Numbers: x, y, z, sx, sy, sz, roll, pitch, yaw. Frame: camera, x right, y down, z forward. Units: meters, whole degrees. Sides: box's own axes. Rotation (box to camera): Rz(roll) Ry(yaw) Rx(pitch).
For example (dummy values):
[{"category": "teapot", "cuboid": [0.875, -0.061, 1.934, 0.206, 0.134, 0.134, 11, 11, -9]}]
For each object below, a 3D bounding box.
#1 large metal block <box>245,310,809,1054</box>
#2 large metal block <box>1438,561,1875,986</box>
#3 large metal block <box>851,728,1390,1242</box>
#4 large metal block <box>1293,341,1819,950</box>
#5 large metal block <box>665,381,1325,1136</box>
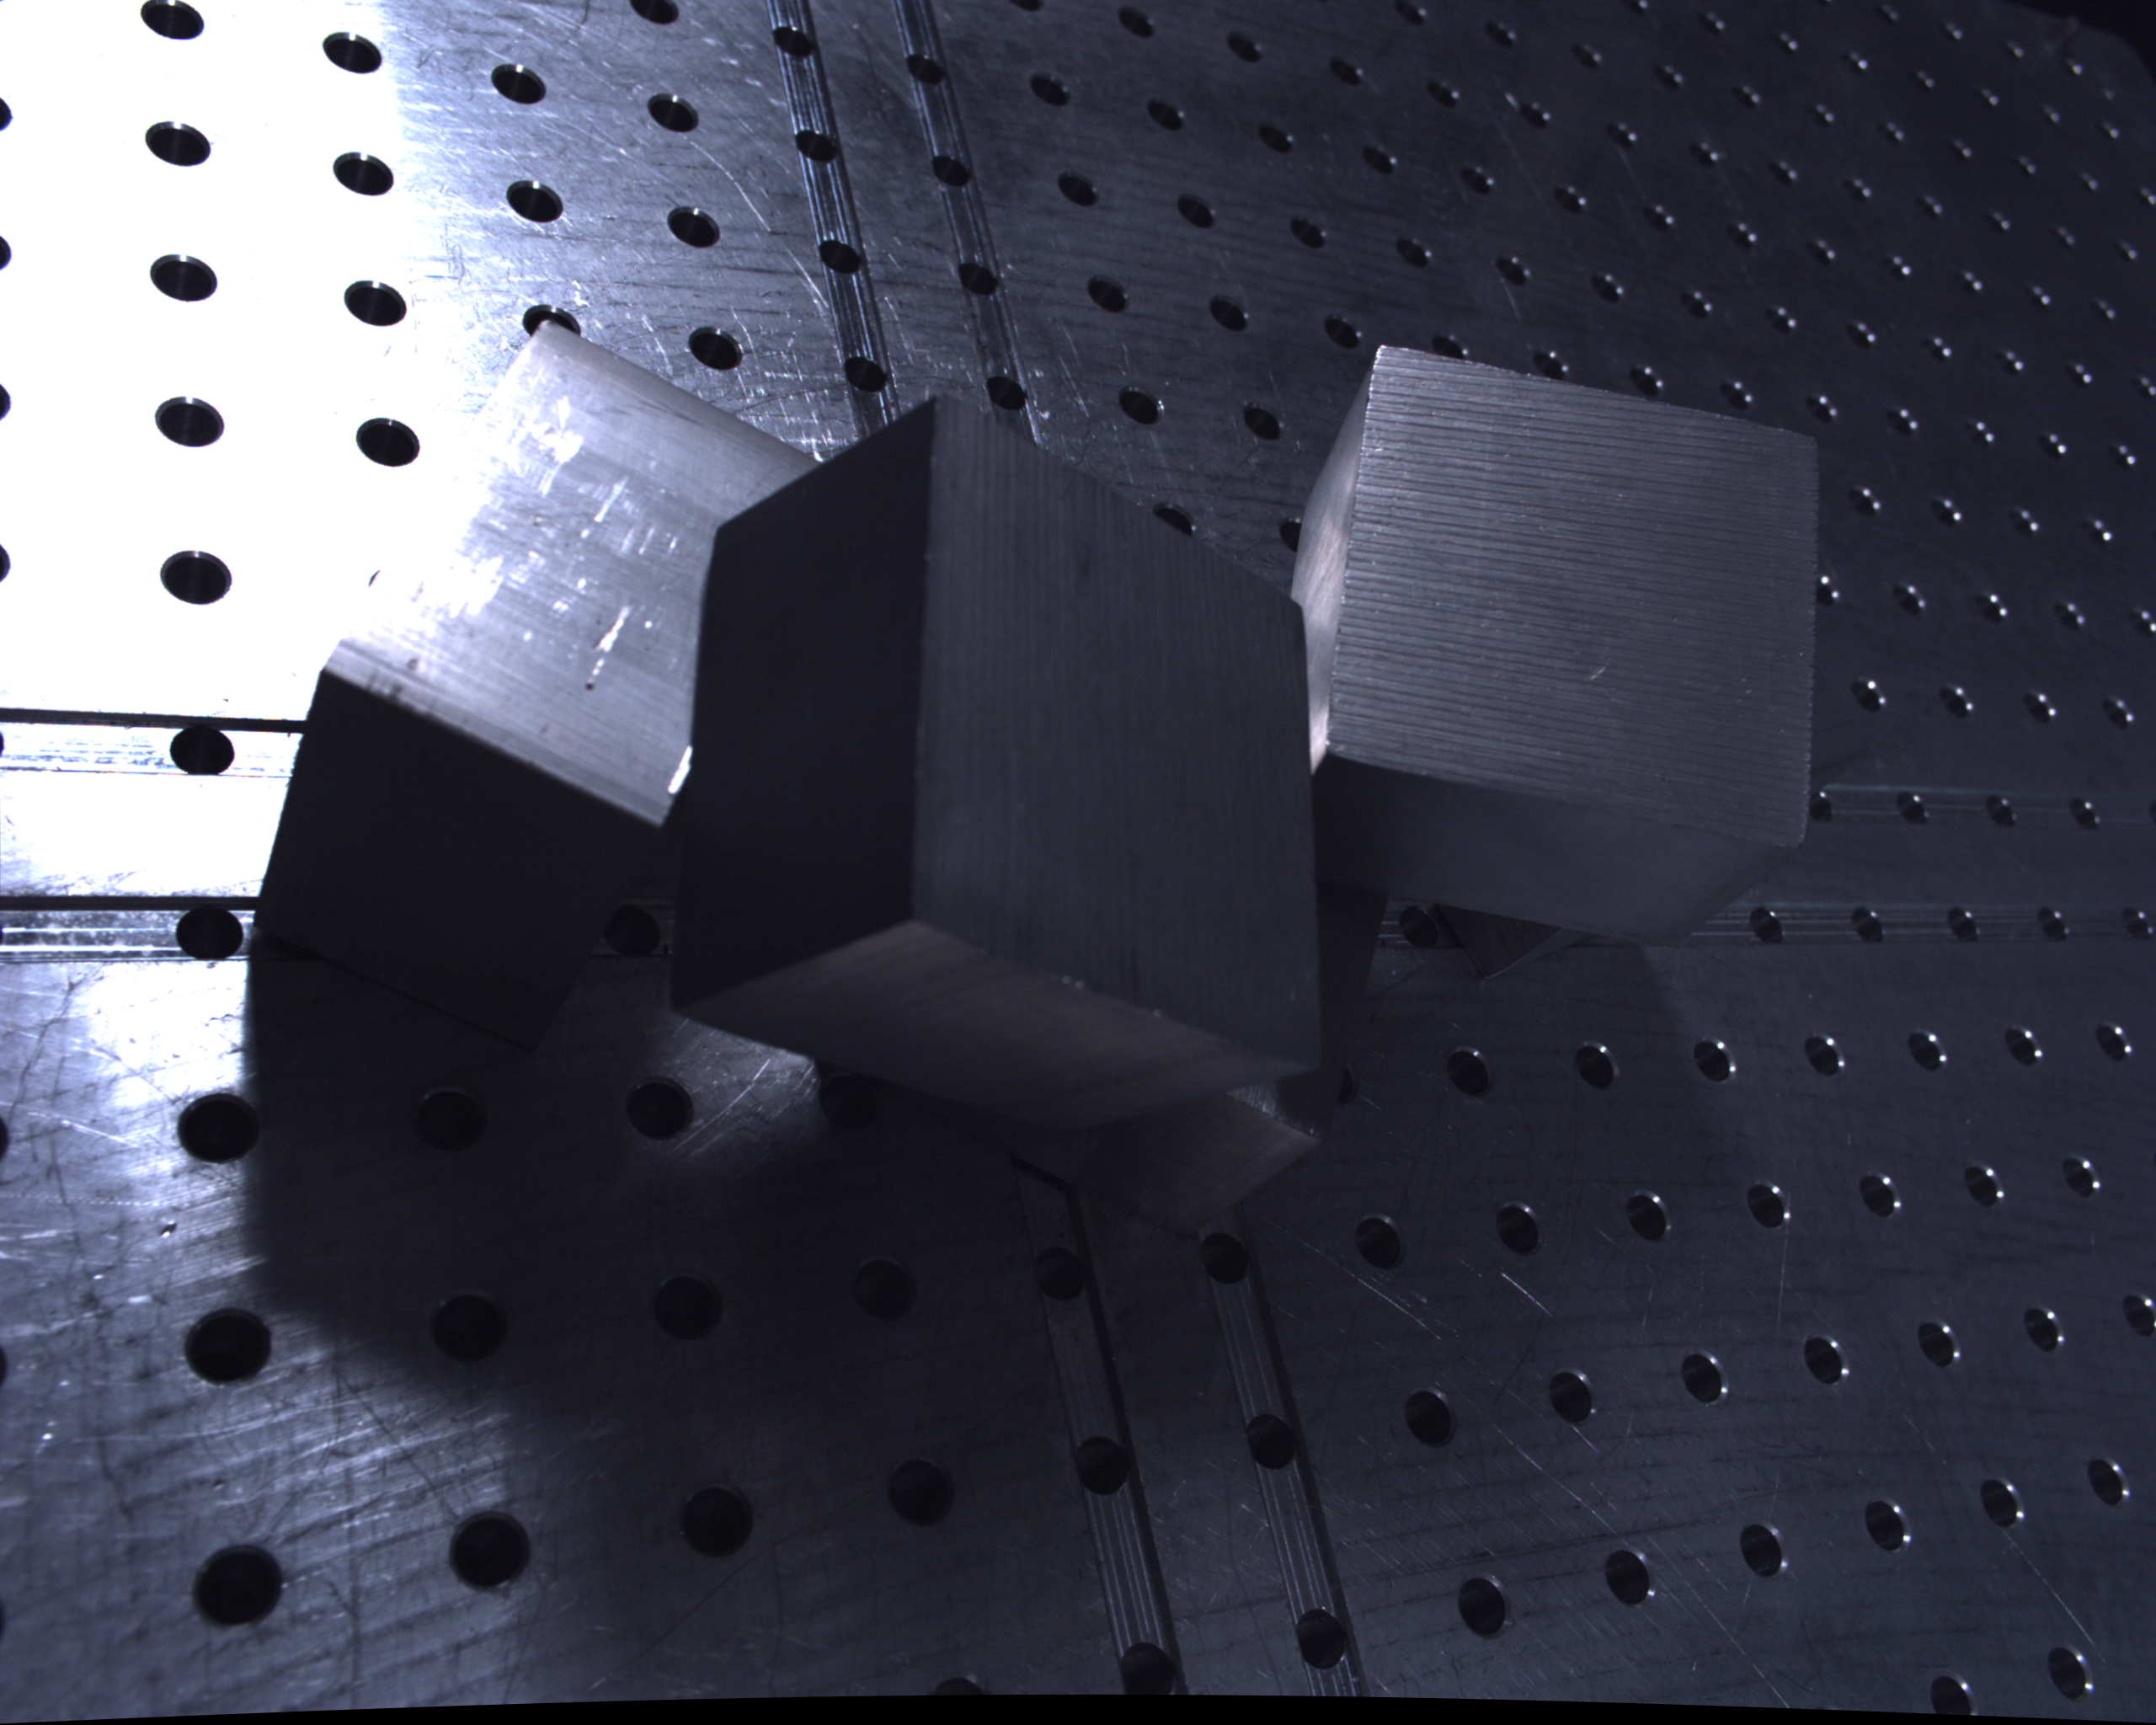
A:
[{"category": "large metal block", "cuboid": [-0.089, -0.028, 0.342, 0.050, 0.080, 0.080, 27, 52, -12]}, {"category": "large metal block", "cuboid": [0.107, -0.031, 0.452, 0.050, 0.080, 0.080, -18, 71, -35]}, {"category": "large metal block", "cuboid": [0.008, 0.012, 0.390, 0.080, 0.050, 0.080, 28, 52, -11]}, {"category": "large metal block", "cuboid": [0.081, -0.037, 0.371, 0.081, 0.050, 0.080, 12, 68, -4]}, {"category": "large metal block", "cuboid": [-0.010, -0.011, 0.311, 0.080, 0.050, 0.080, 23, 57, -41]}]
